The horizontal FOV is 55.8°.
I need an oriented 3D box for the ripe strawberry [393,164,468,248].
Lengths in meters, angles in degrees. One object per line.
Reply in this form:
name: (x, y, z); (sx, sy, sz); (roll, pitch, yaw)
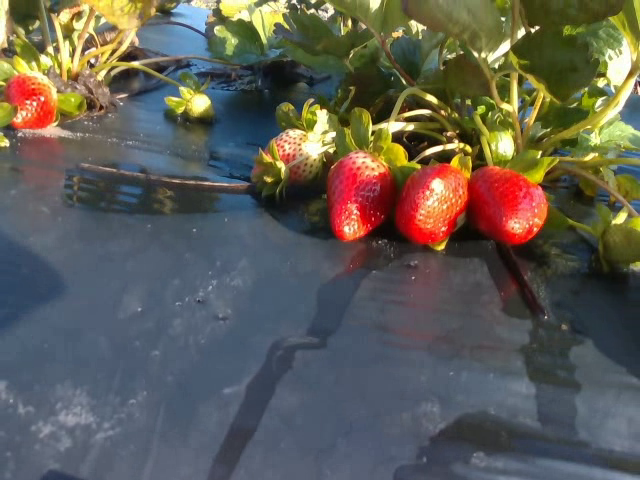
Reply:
ripe strawberry: (0.041, -0.016, 0.224); (0.030, 0.037, 0.039); (20, 4, 16)

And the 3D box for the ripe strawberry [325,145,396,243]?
ripe strawberry: (0.014, -0.018, 0.235); (0.031, 0.046, 0.023); (11, -39, 11)

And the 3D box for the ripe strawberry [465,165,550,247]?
ripe strawberry: (0.069, -0.009, 0.222); (0.035, 0.034, 0.041); (7, 15, 10)
